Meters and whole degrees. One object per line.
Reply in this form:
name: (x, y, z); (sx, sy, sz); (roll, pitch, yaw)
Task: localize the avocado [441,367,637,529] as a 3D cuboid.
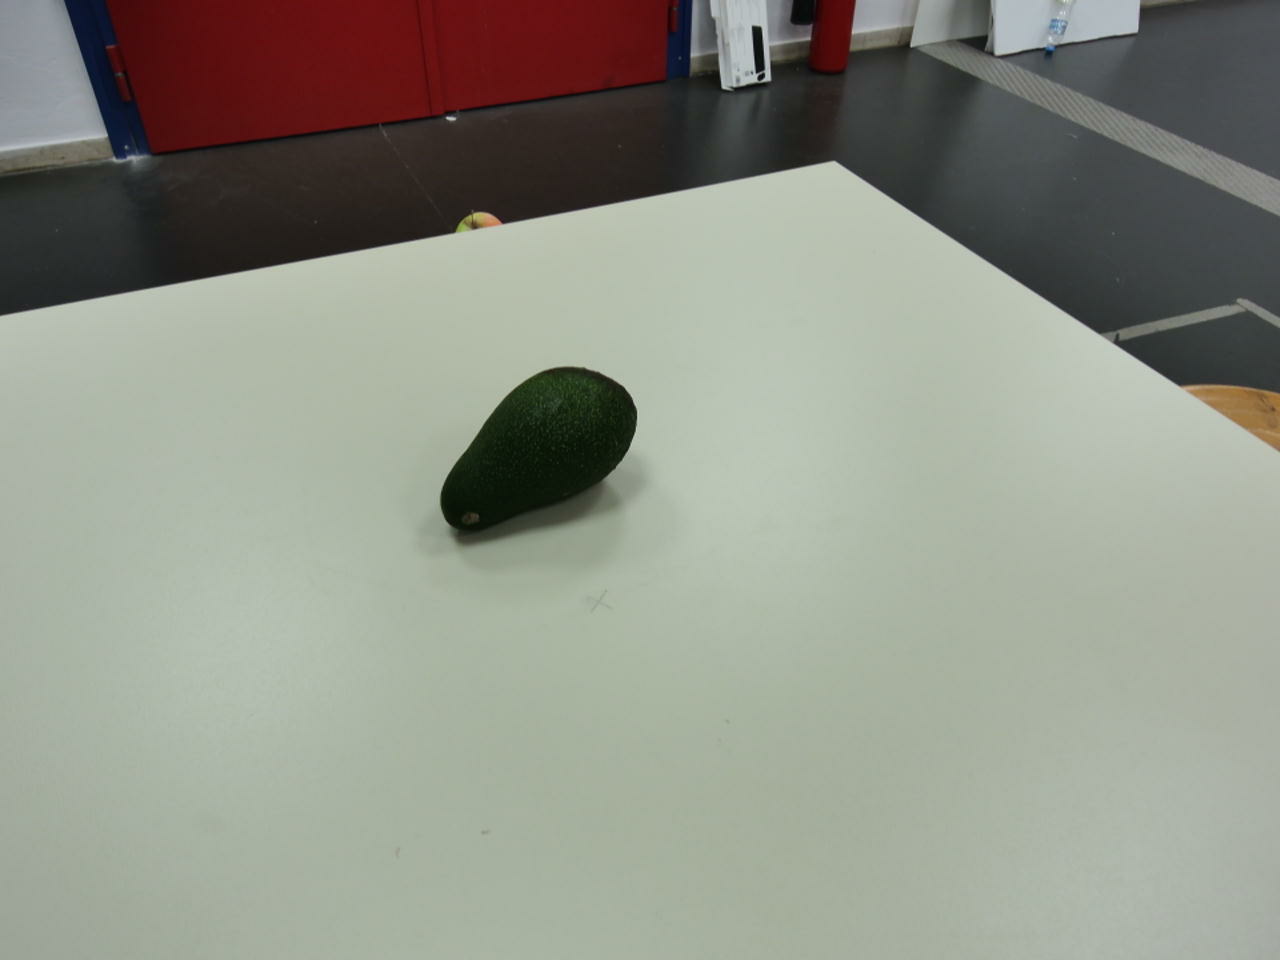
avocado: (-0.061, -0.024, 0.580); (0.123, 0.076, 0.074); (-11, 40, -15)
